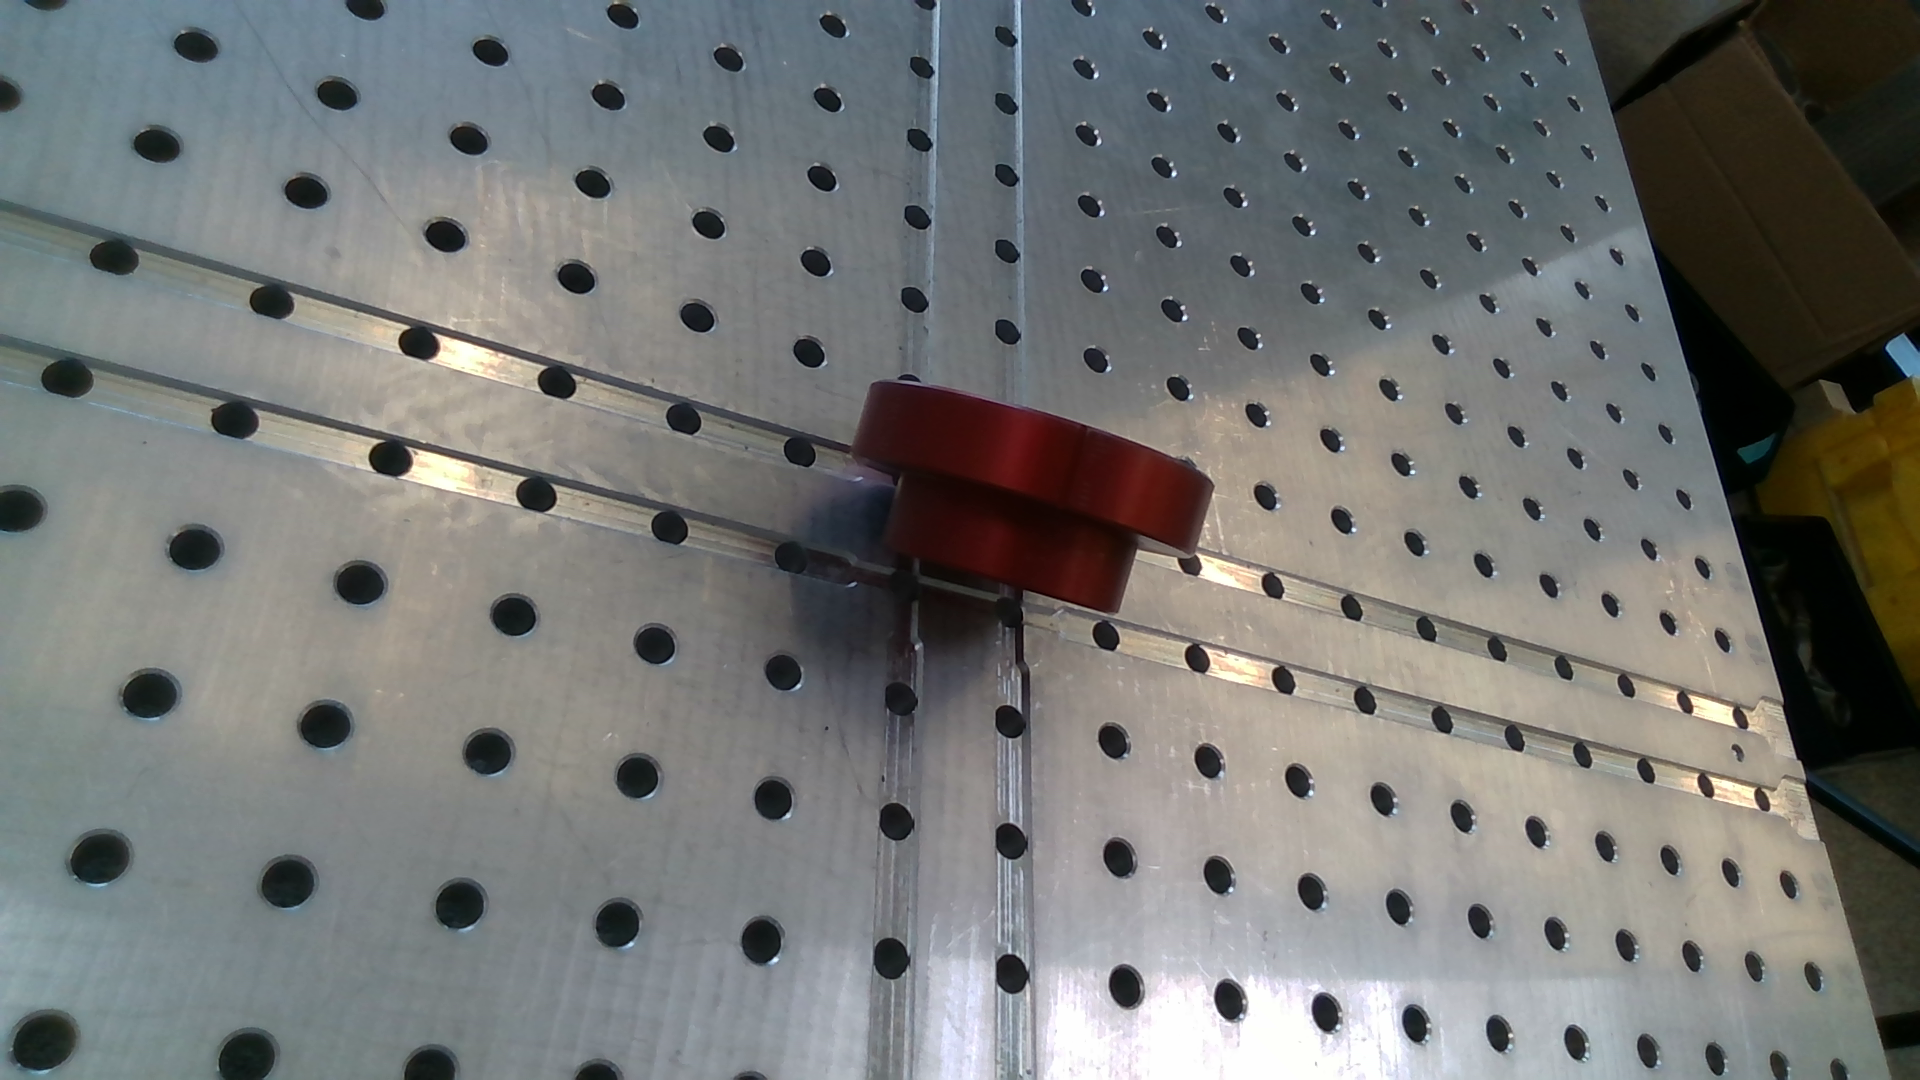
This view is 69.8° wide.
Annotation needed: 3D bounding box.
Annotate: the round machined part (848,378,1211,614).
[{"bbox_3d":[0.016,-0.009,0.376,0.098,0.098,0.042,17,88,-23],"label":"round machined part"}]
